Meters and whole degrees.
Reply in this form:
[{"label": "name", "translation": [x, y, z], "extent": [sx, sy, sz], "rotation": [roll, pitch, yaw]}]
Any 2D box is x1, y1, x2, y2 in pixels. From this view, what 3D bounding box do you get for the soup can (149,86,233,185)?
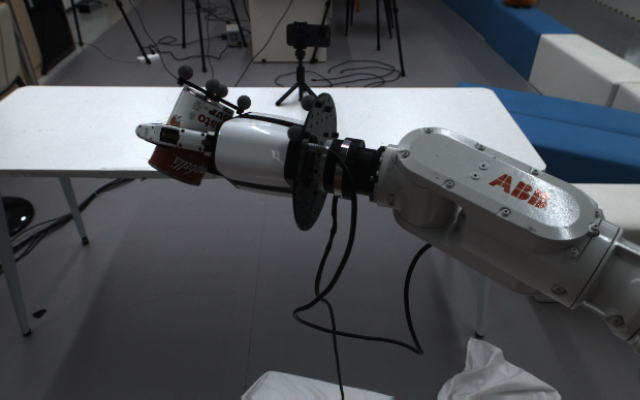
[{"label": "soup can", "translation": [-0.155, -0.076, 0.587], "extent": [0.067, 0.101, 0.067], "rotation": [27, 6, -3]}]
